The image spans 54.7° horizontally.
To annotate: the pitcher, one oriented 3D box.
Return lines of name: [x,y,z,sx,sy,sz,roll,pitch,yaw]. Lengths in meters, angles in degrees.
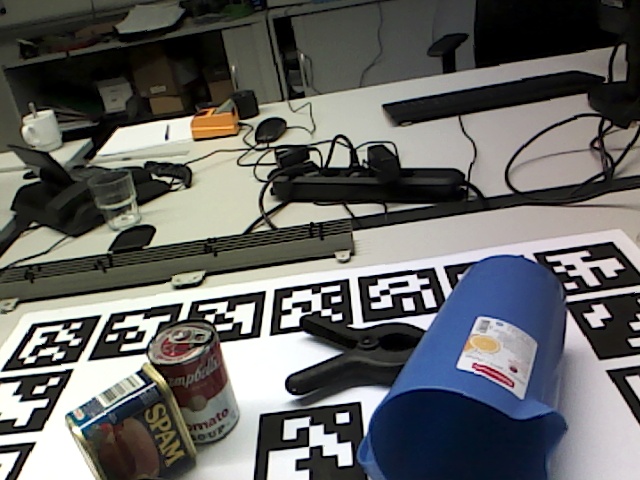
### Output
pitcher: [0.149,0.105,0.562,0.189,0.133,0.242,-21,13,30]

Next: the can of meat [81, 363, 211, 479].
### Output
can of meat: [-0.159,0.179,0.567,0.083,0.101,0.058,-32,35,-28]

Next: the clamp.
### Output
clamp: [0.042,0.125,0.693,0.165,0.036,0.122,-6,24,2]

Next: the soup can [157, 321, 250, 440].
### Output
soup can: [-0.116,0.143,0.629,0.068,0.101,0.068,-10,30,6]
